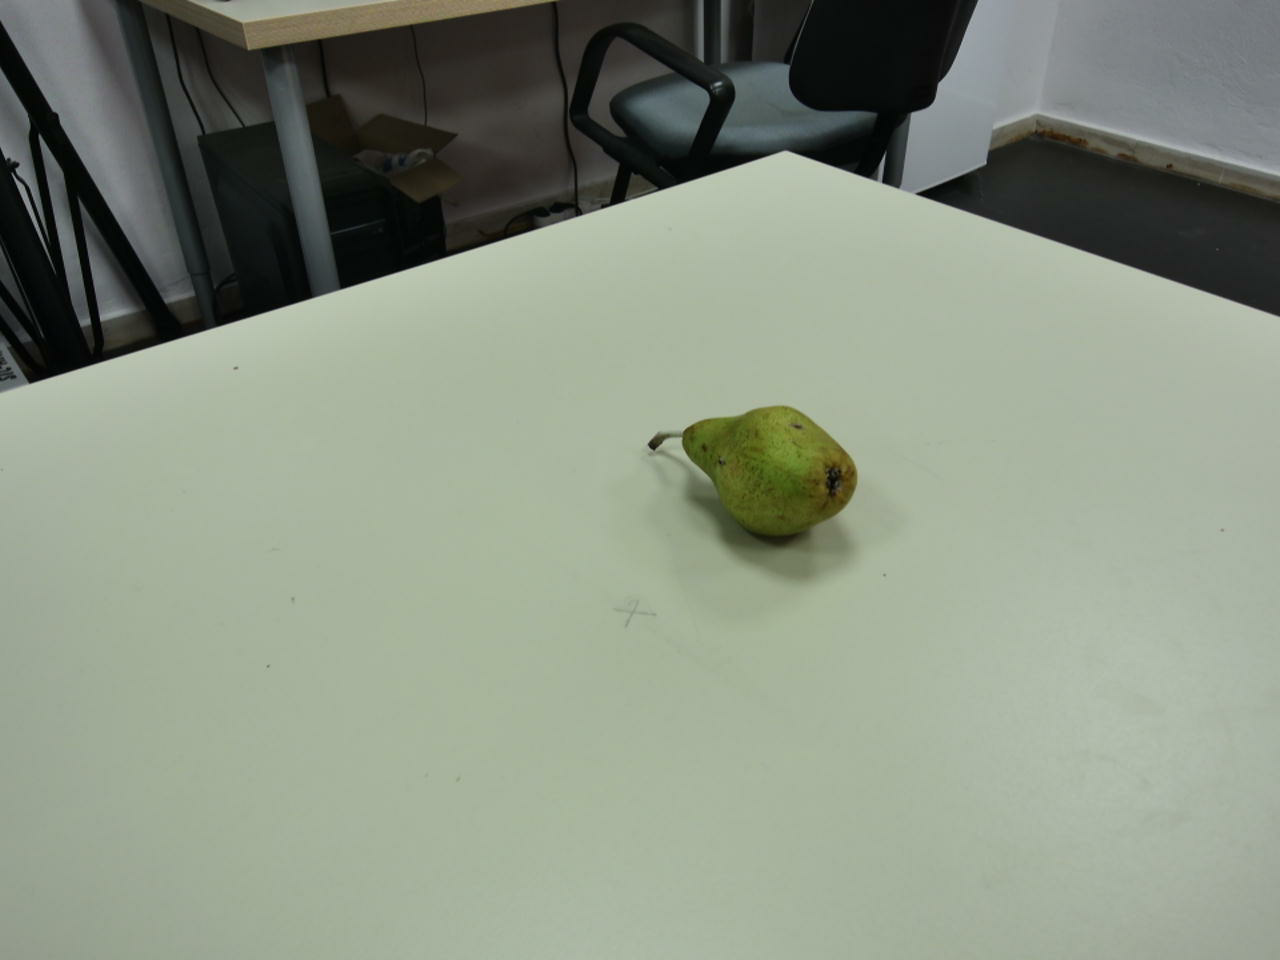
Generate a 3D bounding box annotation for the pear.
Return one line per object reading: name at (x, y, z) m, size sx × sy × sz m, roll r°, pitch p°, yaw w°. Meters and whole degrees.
pear at (0.052, -0.014, 0.449) m, size 0.056 × 0.056 × 0.111 m, roll -13°, pitch 37°, yaw -18°
